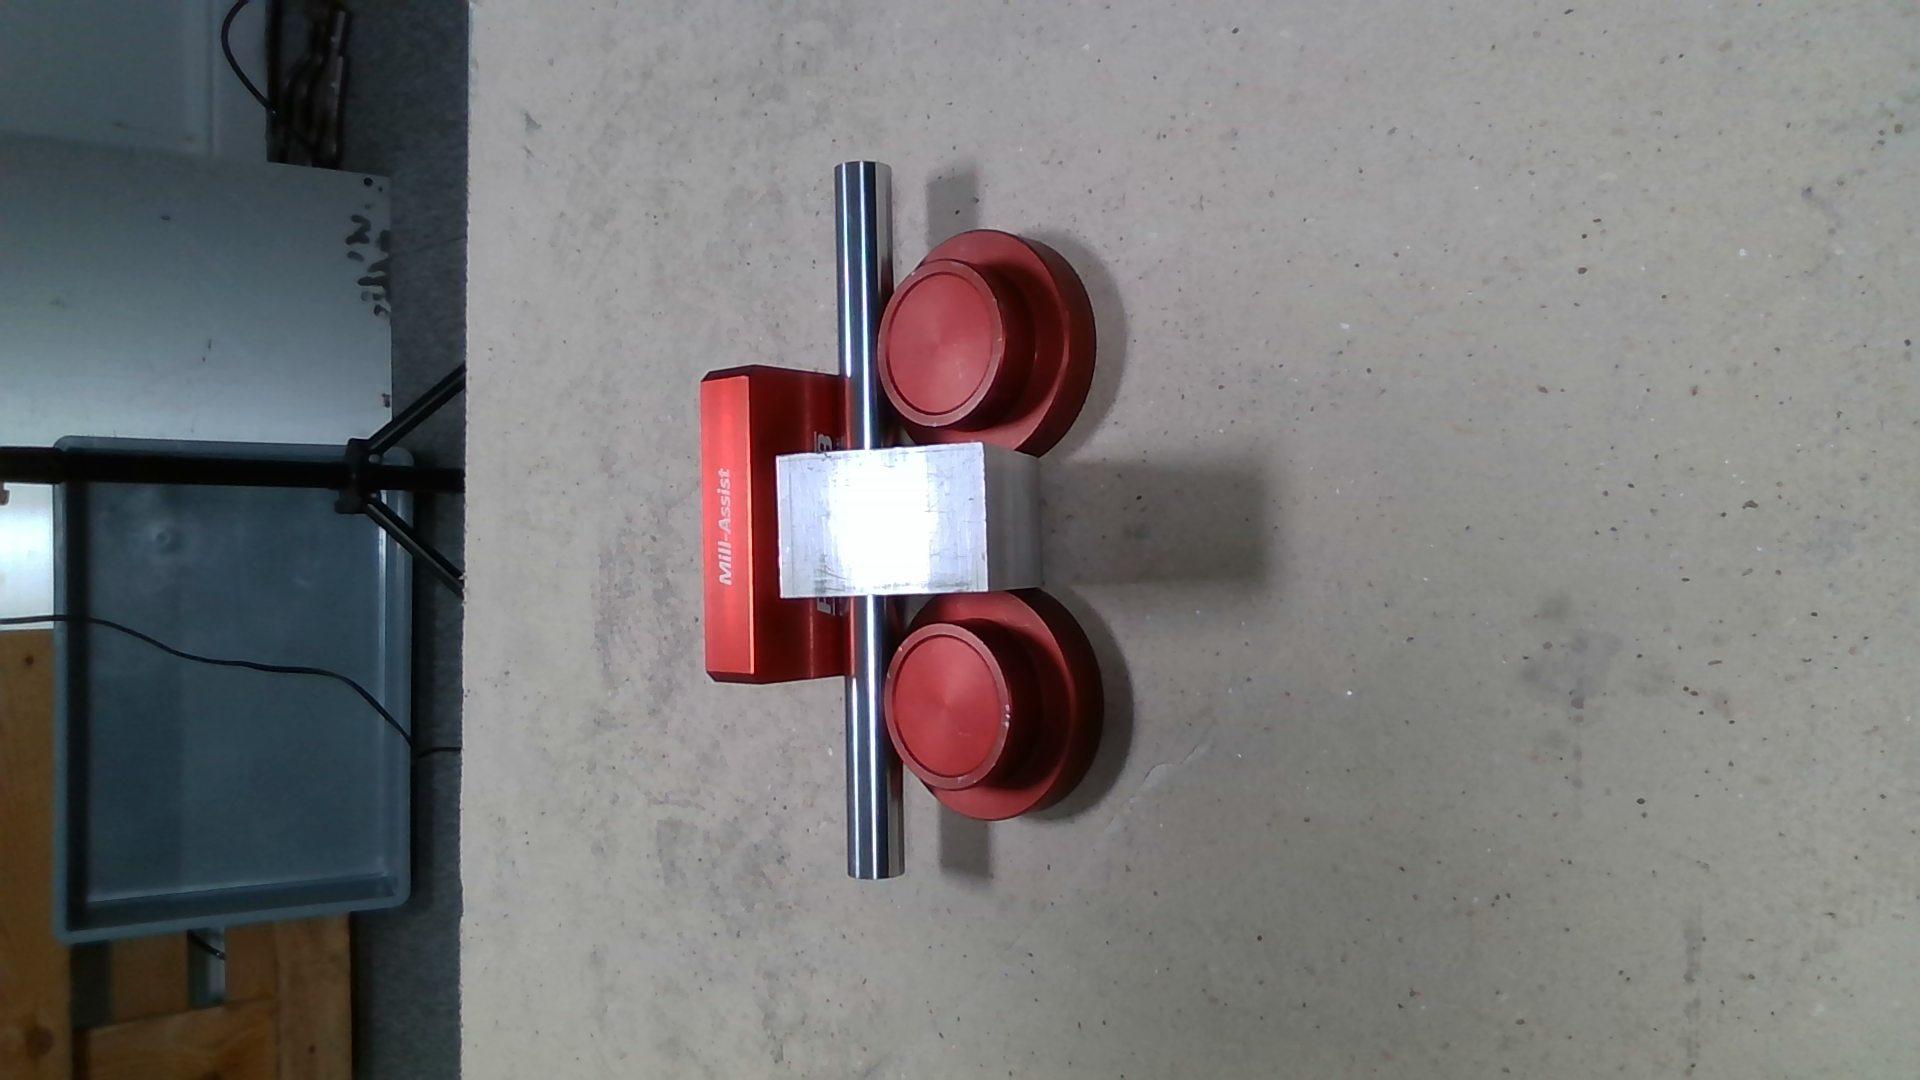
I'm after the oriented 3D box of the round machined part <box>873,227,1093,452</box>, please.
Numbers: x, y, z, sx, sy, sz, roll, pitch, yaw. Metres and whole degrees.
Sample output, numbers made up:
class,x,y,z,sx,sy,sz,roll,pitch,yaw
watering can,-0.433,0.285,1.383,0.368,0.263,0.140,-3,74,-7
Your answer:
class,x,y,z,sx,sy,sz,roll,pitch,yaw
round machined part,0.003,-0.079,0.565,0.098,0.042,0.098,0,91,40

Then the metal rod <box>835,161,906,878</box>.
class,x,y,z,sx,sy,sz,roll,pitch,yaw
metal rod,-0.039,-0.009,0.588,0.025,0.025,0.300,-1,90,40

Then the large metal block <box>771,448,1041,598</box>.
class,x,y,z,sx,sy,sz,roll,pitch,yaw
large metal block,-0.018,-0.005,0.526,0.080,0.080,0.050,-2,89,17

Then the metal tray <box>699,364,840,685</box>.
class,x,y,z,sx,sy,sz,roll,pitch,yaw
metal tray,-0.067,-0.006,0.596,0.030,0.090,0.130,-1,89,40

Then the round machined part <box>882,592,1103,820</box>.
class,x,y,z,sx,sy,sz,roll,pitch,yaw
round machined part,0.007,0.066,0.565,0.098,0.042,0.098,0,91,40
